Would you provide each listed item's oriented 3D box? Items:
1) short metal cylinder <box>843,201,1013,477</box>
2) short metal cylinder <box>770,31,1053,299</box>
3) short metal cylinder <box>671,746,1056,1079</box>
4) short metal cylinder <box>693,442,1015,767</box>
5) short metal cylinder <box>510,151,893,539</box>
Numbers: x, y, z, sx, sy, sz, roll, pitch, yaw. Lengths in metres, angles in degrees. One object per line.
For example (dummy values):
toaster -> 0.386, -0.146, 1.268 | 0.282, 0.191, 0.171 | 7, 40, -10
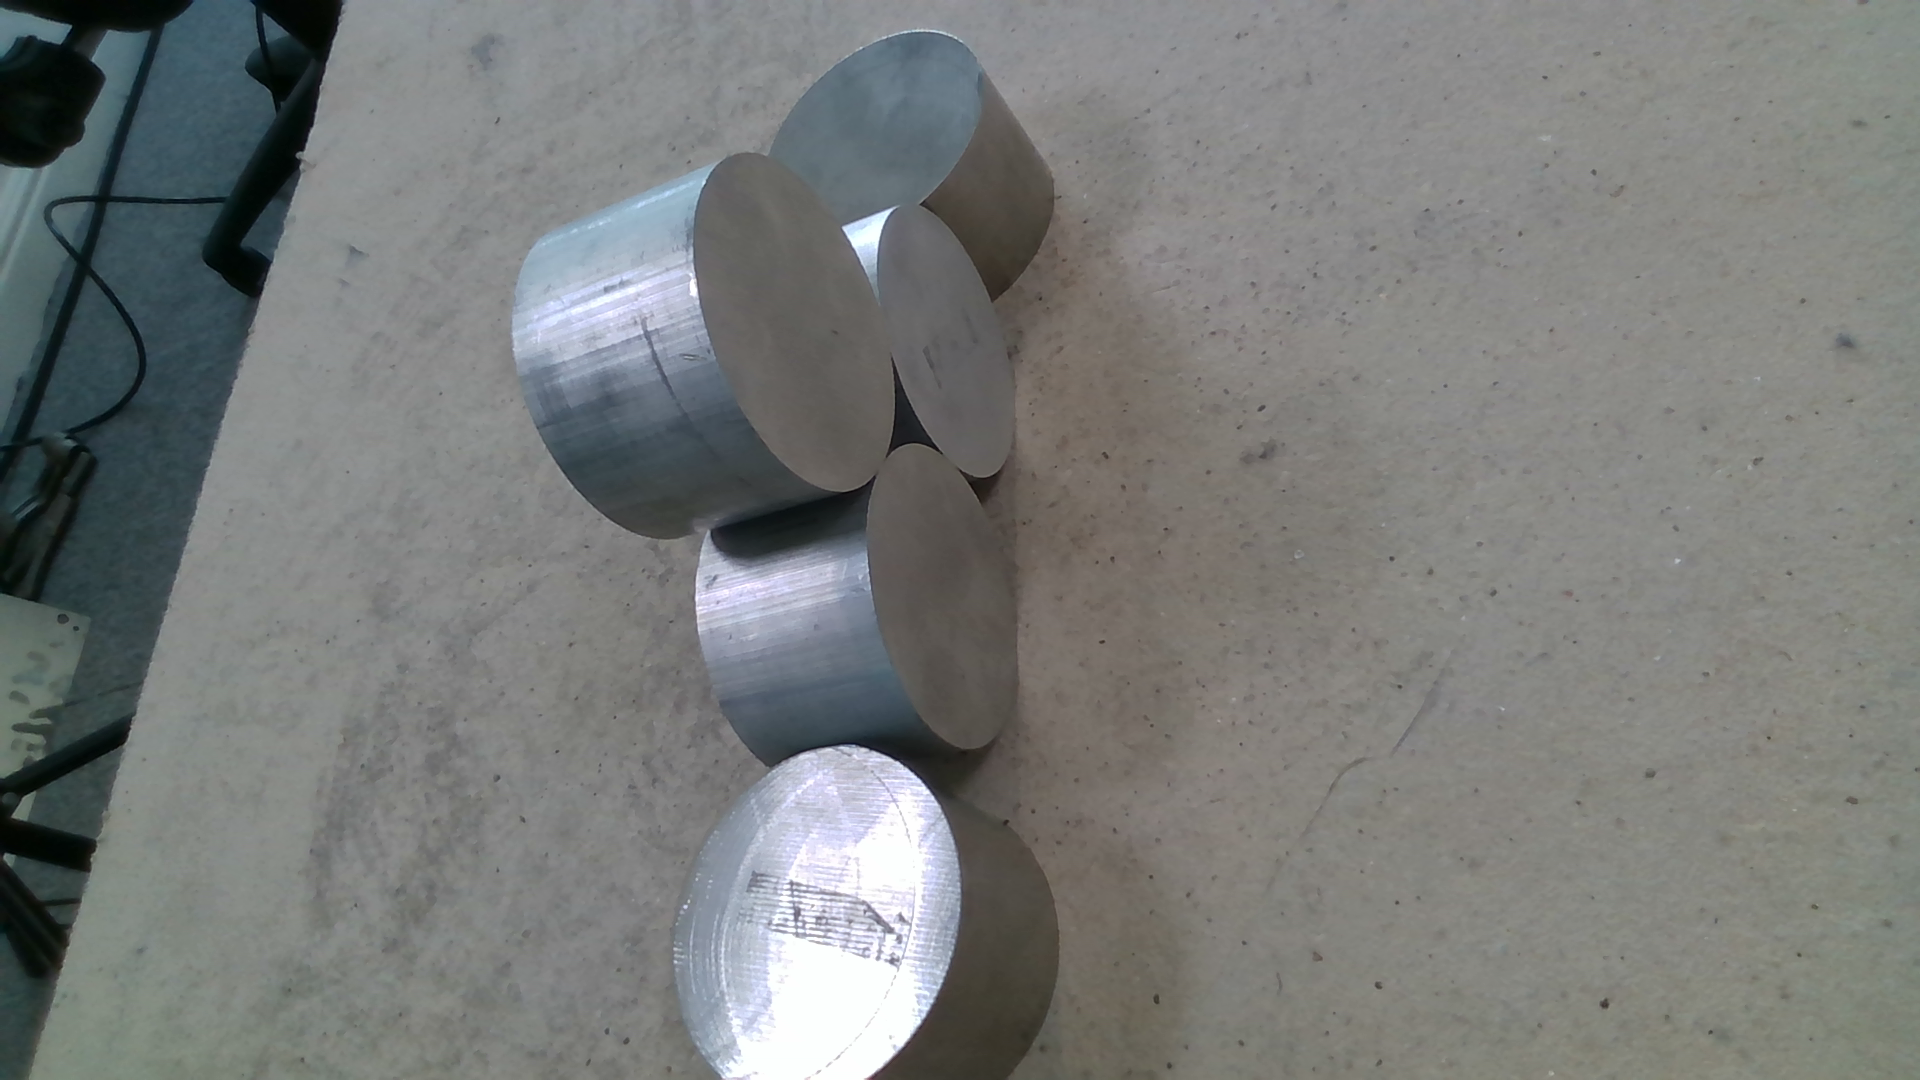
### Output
short metal cylinder -> -0.025, -0.051, 0.400 | 0.050, 0.080, 0.080 | -14, 59, 25
short metal cylinder -> -0.016, -0.116, 0.449 | 0.080, 0.050, 0.080 | -14, 59, 25
short metal cylinder -> -0.023, 0.097, 0.340 | 0.080, 0.050, 0.080 | -14, 59, 25
short metal cylinder -> -0.025, 0.019, 0.364 | 0.050, 0.080, 0.080 | -14, 59, 24
short metal cylinder -> -0.058, -0.045, 0.328 | 0.050, 0.080, 0.080 | -14, 59, 26
